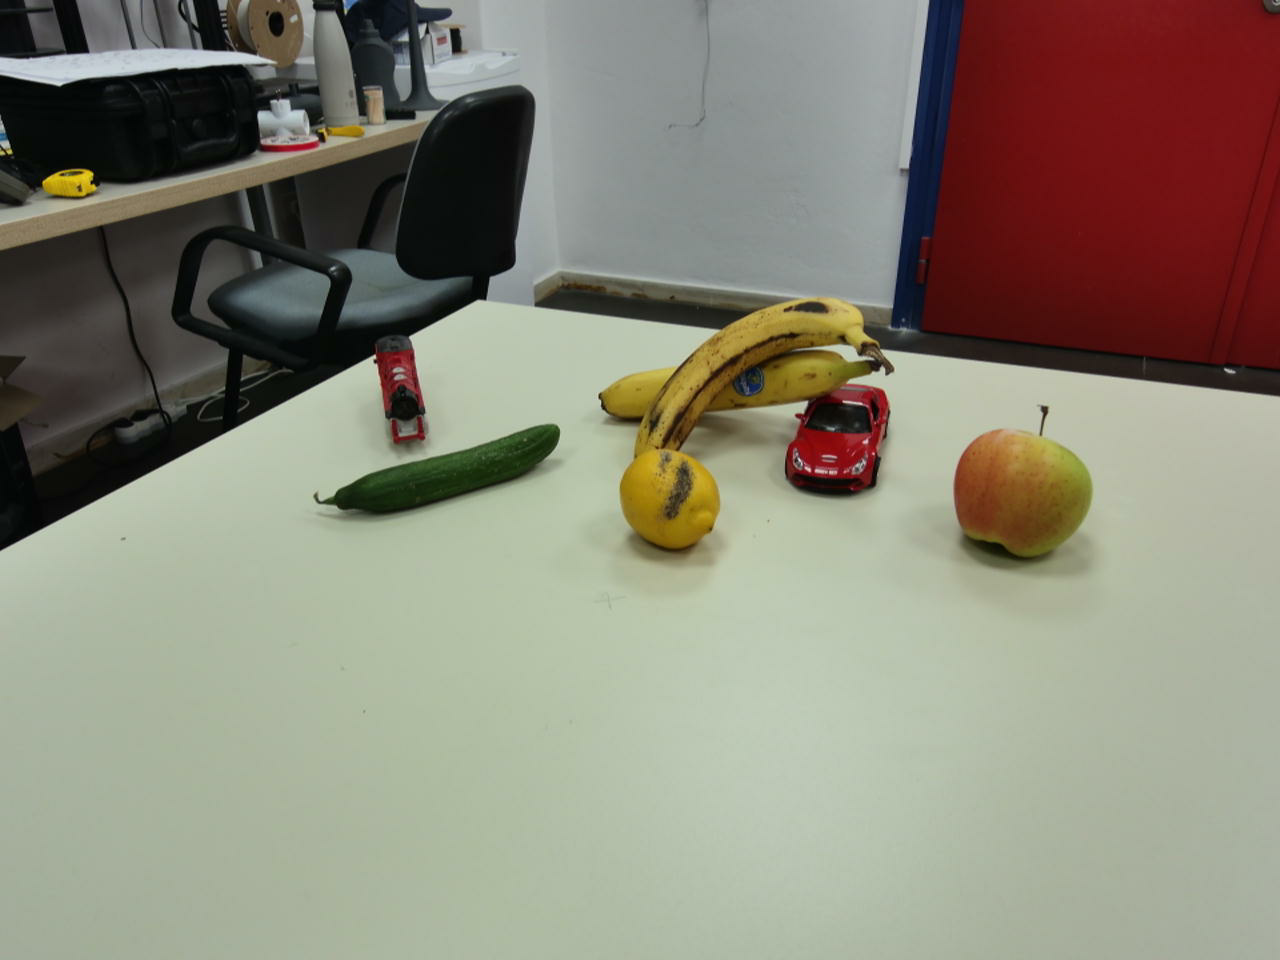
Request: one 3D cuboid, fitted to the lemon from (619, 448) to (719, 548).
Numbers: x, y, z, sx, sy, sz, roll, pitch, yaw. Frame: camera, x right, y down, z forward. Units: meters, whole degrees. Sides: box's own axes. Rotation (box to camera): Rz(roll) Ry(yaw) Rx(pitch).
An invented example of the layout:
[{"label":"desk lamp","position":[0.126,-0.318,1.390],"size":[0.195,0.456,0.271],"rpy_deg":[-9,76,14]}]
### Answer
[{"label":"lemon","position":[0.017,0.011,0.596],"size":[0.061,0.056,0.058],"rpy_deg":[8,27,15]}]
